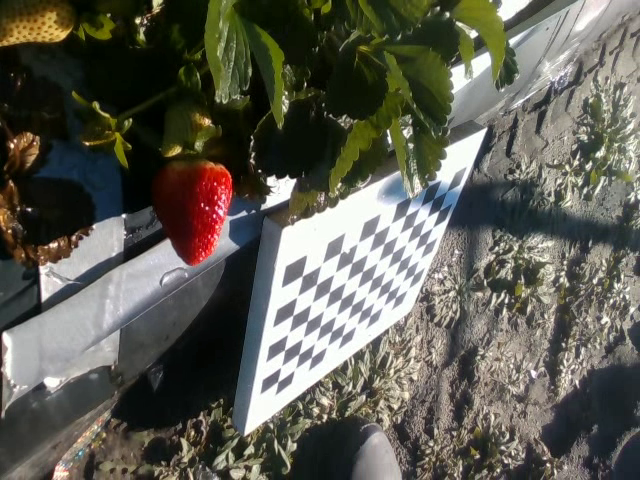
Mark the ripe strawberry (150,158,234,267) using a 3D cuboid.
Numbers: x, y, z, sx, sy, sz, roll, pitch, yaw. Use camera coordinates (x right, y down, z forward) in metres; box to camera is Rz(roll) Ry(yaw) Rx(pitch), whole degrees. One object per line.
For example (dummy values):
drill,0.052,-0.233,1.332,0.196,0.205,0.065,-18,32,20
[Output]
ripe strawberry,-0.076,-0.014,0.383,0.058,0.065,0.062,-11,-9,25
